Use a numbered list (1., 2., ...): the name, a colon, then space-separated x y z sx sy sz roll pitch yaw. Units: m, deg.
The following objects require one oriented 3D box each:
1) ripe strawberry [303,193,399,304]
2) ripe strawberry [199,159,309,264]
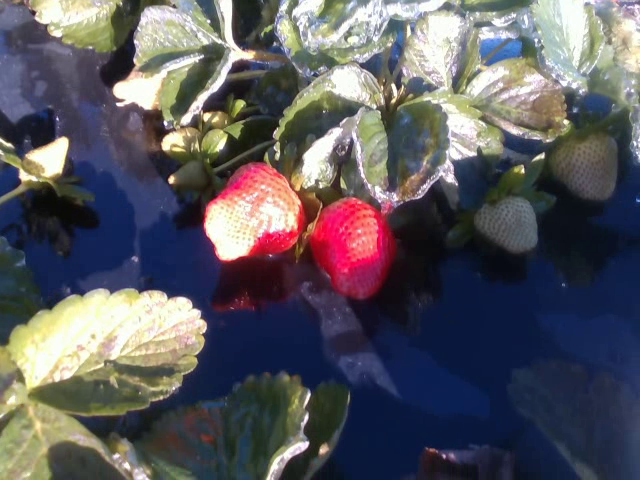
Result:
1. ripe strawberry: 0.016 0.001 0.306 0.044 0.059 0.040 -6 -29 -5
2. ripe strawberry: -0.035 -0.010 0.320 0.053 0.069 0.040 39 -27 8
